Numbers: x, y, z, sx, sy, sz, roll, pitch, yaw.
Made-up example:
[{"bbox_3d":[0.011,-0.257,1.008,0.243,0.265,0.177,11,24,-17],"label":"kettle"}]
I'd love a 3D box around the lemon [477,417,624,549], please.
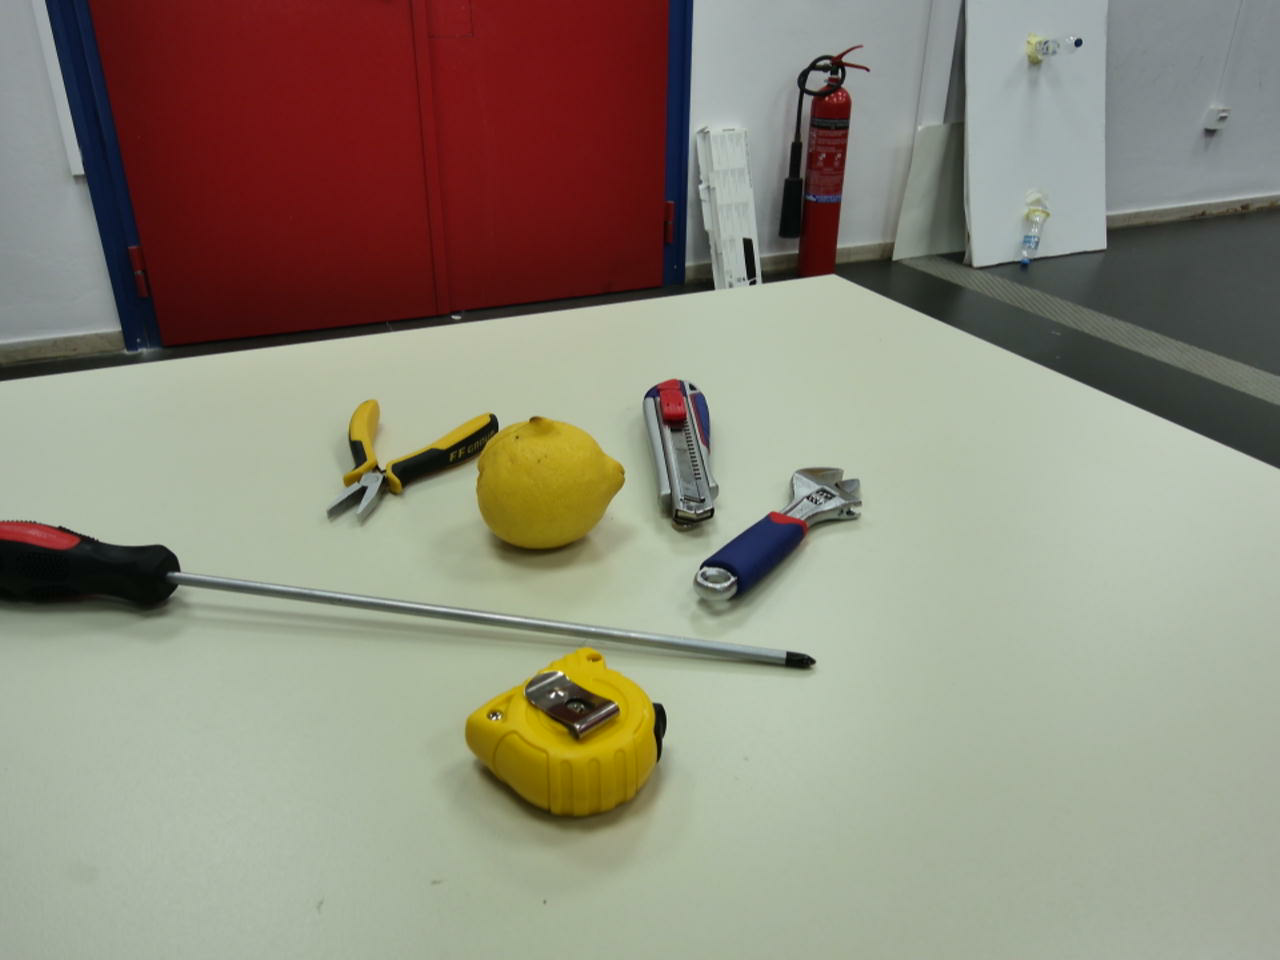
[{"bbox_3d":[-0.051,-0.002,0.517,0.071,0.071,0.070,15,29,27],"label":"lemon"}]
